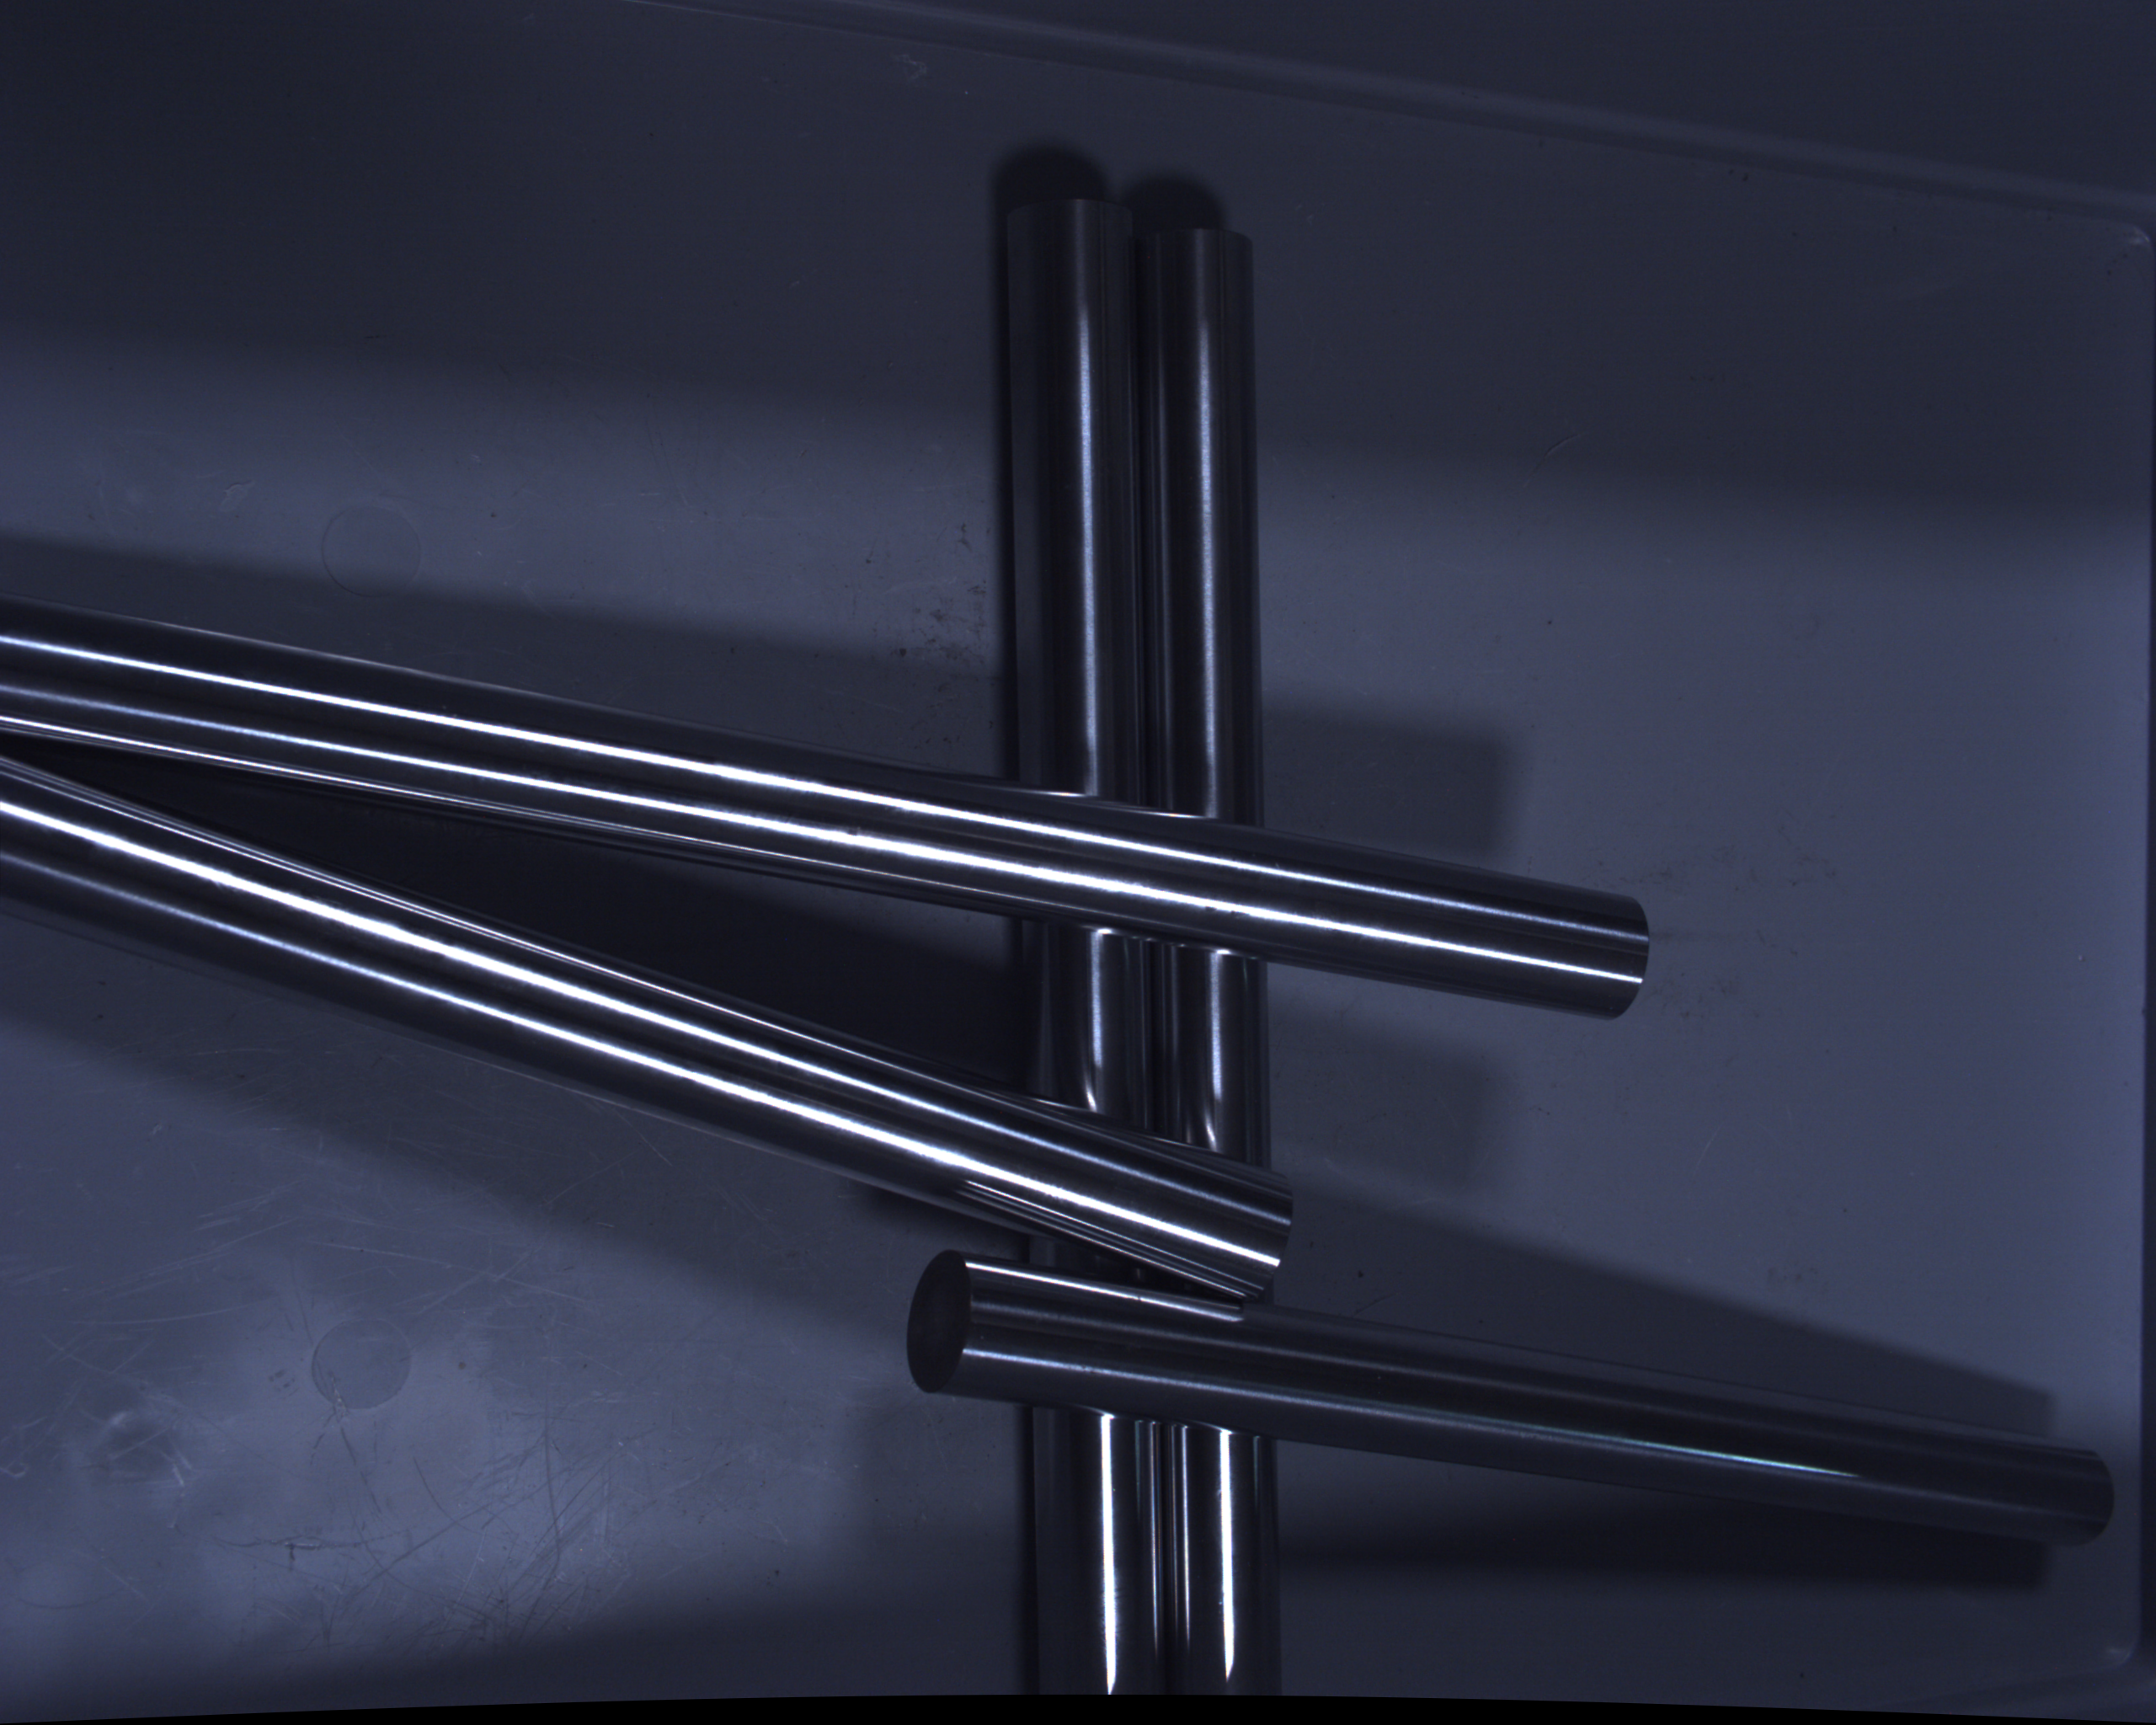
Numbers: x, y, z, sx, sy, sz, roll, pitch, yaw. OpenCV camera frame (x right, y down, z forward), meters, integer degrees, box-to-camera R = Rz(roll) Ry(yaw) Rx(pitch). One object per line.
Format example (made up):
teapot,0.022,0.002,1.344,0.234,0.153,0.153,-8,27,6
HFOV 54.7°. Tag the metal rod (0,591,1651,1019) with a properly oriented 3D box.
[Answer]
metal rod,-0.039,-0.007,0.375,0.302,0.025,0.025,10,87,-13

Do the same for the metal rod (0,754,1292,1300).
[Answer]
metal rod,-0.103,0.021,0.358,0.302,0.025,0.025,20,83,-14

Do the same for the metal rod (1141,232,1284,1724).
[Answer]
metal rod,0.026,0.026,0.418,0.025,0.025,0.298,-1,91,-20

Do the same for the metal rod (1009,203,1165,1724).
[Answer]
metal rod,0.002,0.024,0.409,0.025,0.025,0.298,-1,91,-20

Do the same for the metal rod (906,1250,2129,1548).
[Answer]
metal rod,0.107,0.115,0.432,0.302,0.025,0.025,15,85,-25
